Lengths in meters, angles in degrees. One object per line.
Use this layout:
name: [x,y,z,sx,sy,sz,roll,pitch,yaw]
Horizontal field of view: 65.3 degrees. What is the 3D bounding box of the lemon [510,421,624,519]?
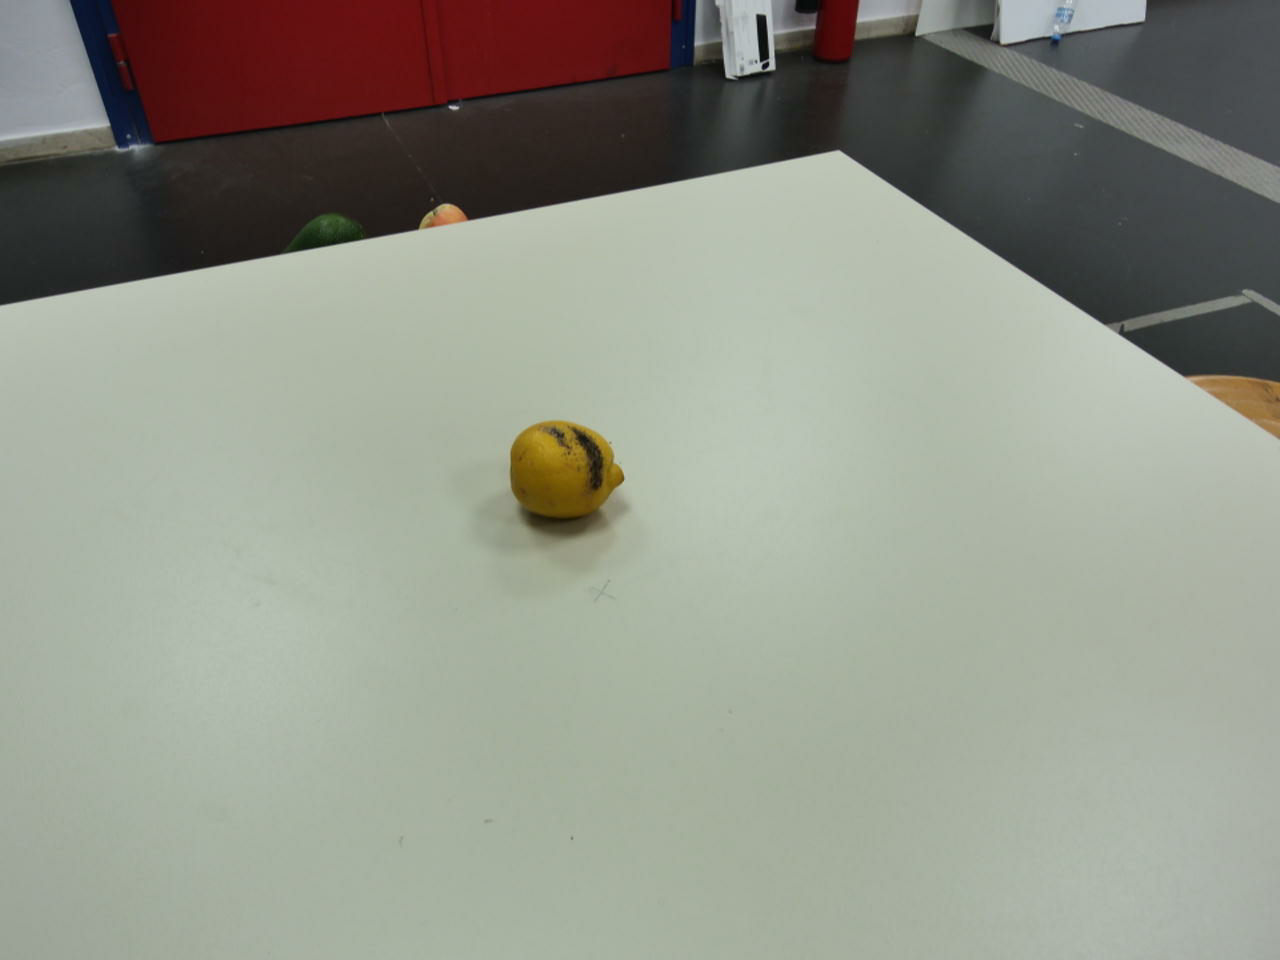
lemon: [-0.045,-0.006,0.576,0.061,0.056,0.058,-22,44,-25]
